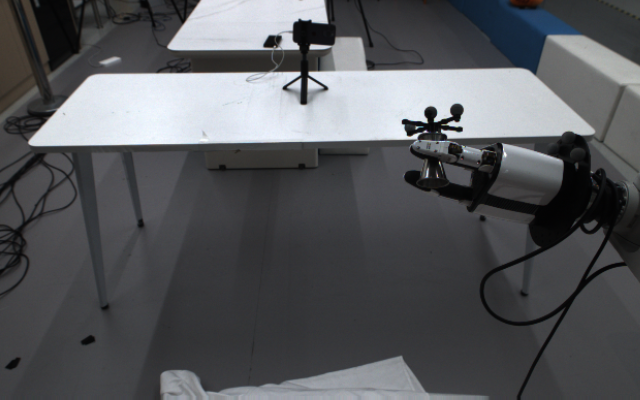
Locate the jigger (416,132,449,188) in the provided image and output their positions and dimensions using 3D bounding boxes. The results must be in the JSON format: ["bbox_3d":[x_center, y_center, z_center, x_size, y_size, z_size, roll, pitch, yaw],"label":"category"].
[{"bbox_3d":[0.153,-0.056,0.669,0.043,0.043,0.071,3,75,1],"label":"jigger"}]
